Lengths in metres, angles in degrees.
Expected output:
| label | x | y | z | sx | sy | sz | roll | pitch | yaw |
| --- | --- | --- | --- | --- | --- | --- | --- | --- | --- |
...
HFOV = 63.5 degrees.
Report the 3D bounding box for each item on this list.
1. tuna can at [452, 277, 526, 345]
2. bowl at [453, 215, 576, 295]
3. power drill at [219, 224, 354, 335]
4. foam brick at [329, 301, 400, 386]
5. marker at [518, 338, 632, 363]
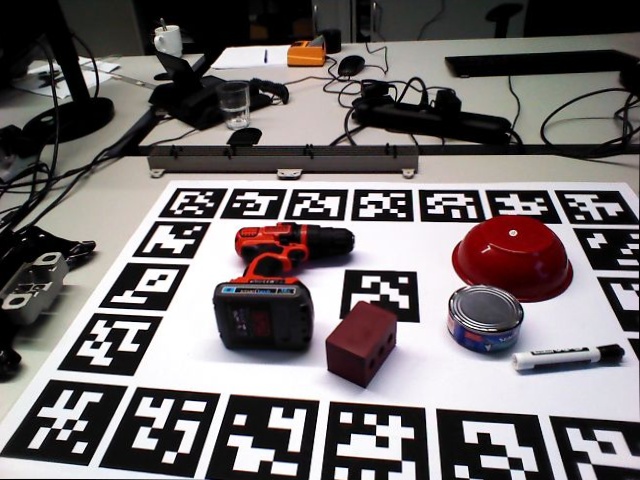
| label | x | y | z | sx | sy | sz | roll | pitch | yaw |
| --- | --- | --- | --- | --- | --- | --- | --- | --- | --- |
| tuna can | 0.203 | 0.084 | 0.620 | 0.086 | 0.034 | 0.085 | -2 | 36 | 1 |
| bowl | 0.268 | 0.009 | 0.715 | 0.162 | 0.055 | 0.161 | -6 | 29 | 3 |
| power drill | -0.049 | 0.044 | 0.696 | 0.185 | 0.057 | 0.186 | 3 | 34 | 5 |
| foam brick | 0.052 | 0.116 | 0.592 | 0.051 | 0.053 | 0.077 | 18 | 43 | 26 |
| marker | 0.281 | 0.121 | 0.570 | 0.121 | 0.020 | 0.019 | -5 | 38 | 0 |
